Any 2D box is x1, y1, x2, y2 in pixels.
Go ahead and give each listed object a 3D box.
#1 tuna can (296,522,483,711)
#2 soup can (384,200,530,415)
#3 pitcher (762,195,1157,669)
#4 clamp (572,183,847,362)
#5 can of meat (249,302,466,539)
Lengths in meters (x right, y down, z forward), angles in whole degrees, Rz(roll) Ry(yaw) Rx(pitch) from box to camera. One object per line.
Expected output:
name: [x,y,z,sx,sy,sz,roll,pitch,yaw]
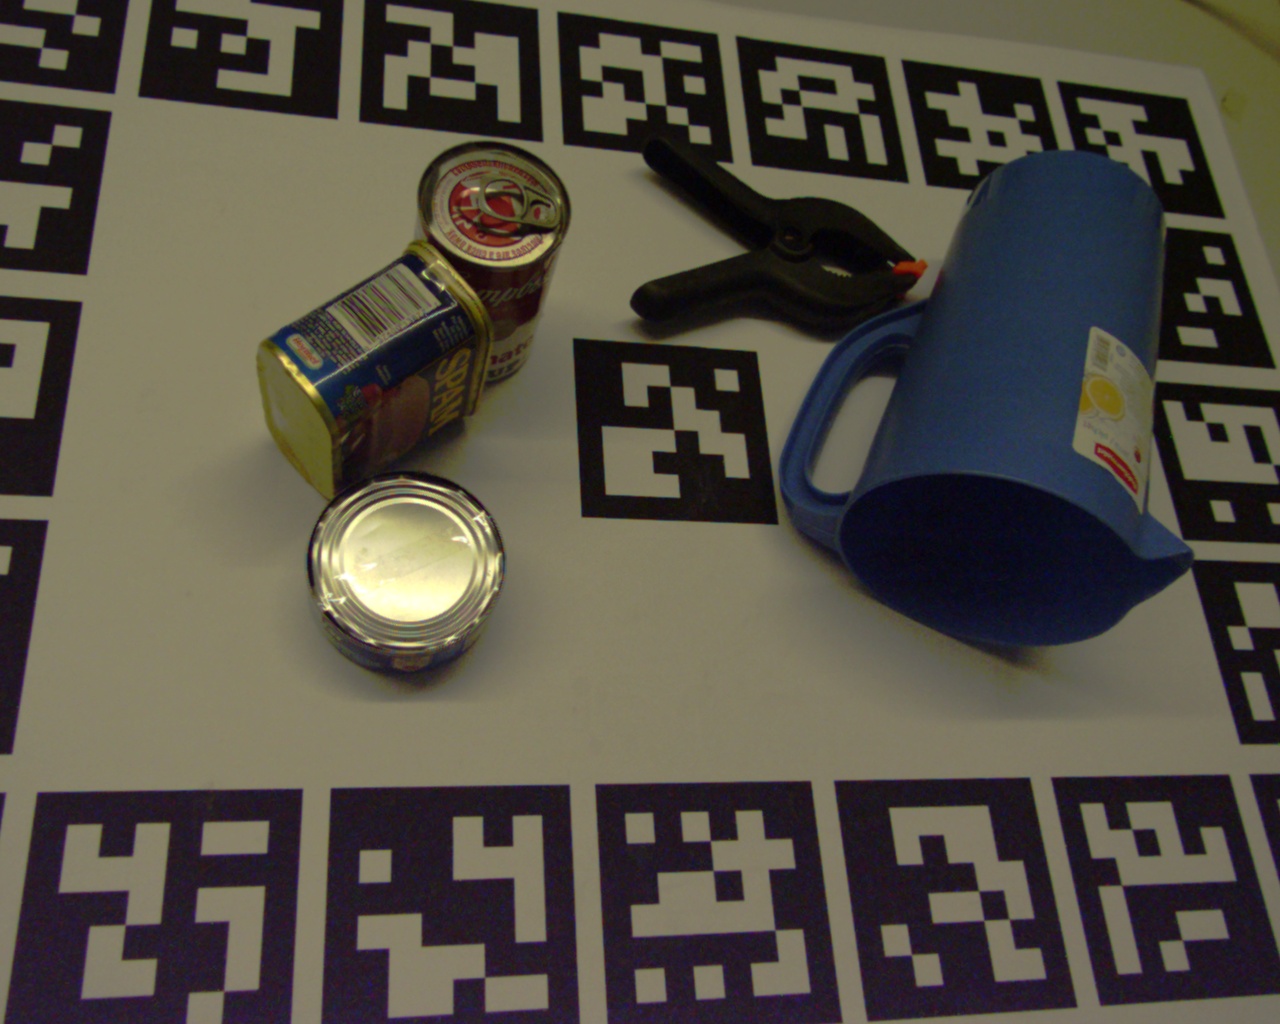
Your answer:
tuna can: [-0.119,0.050,0.542,0.085,0.034,0.086,5,68,-12]
soup can: [-0.095,-0.100,0.577,0.067,0.102,0.068,4,68,-11]
pitcher: [0.174,-0.052,0.600,0.190,0.132,0.242,11,55,15]
clamp: [0.042,-0.134,0.672,0.164,0.037,0.122,5,62,-16]
can of meat: [-0.134,-0.039,0.536,0.083,0.102,0.058,-36,81,-21]
